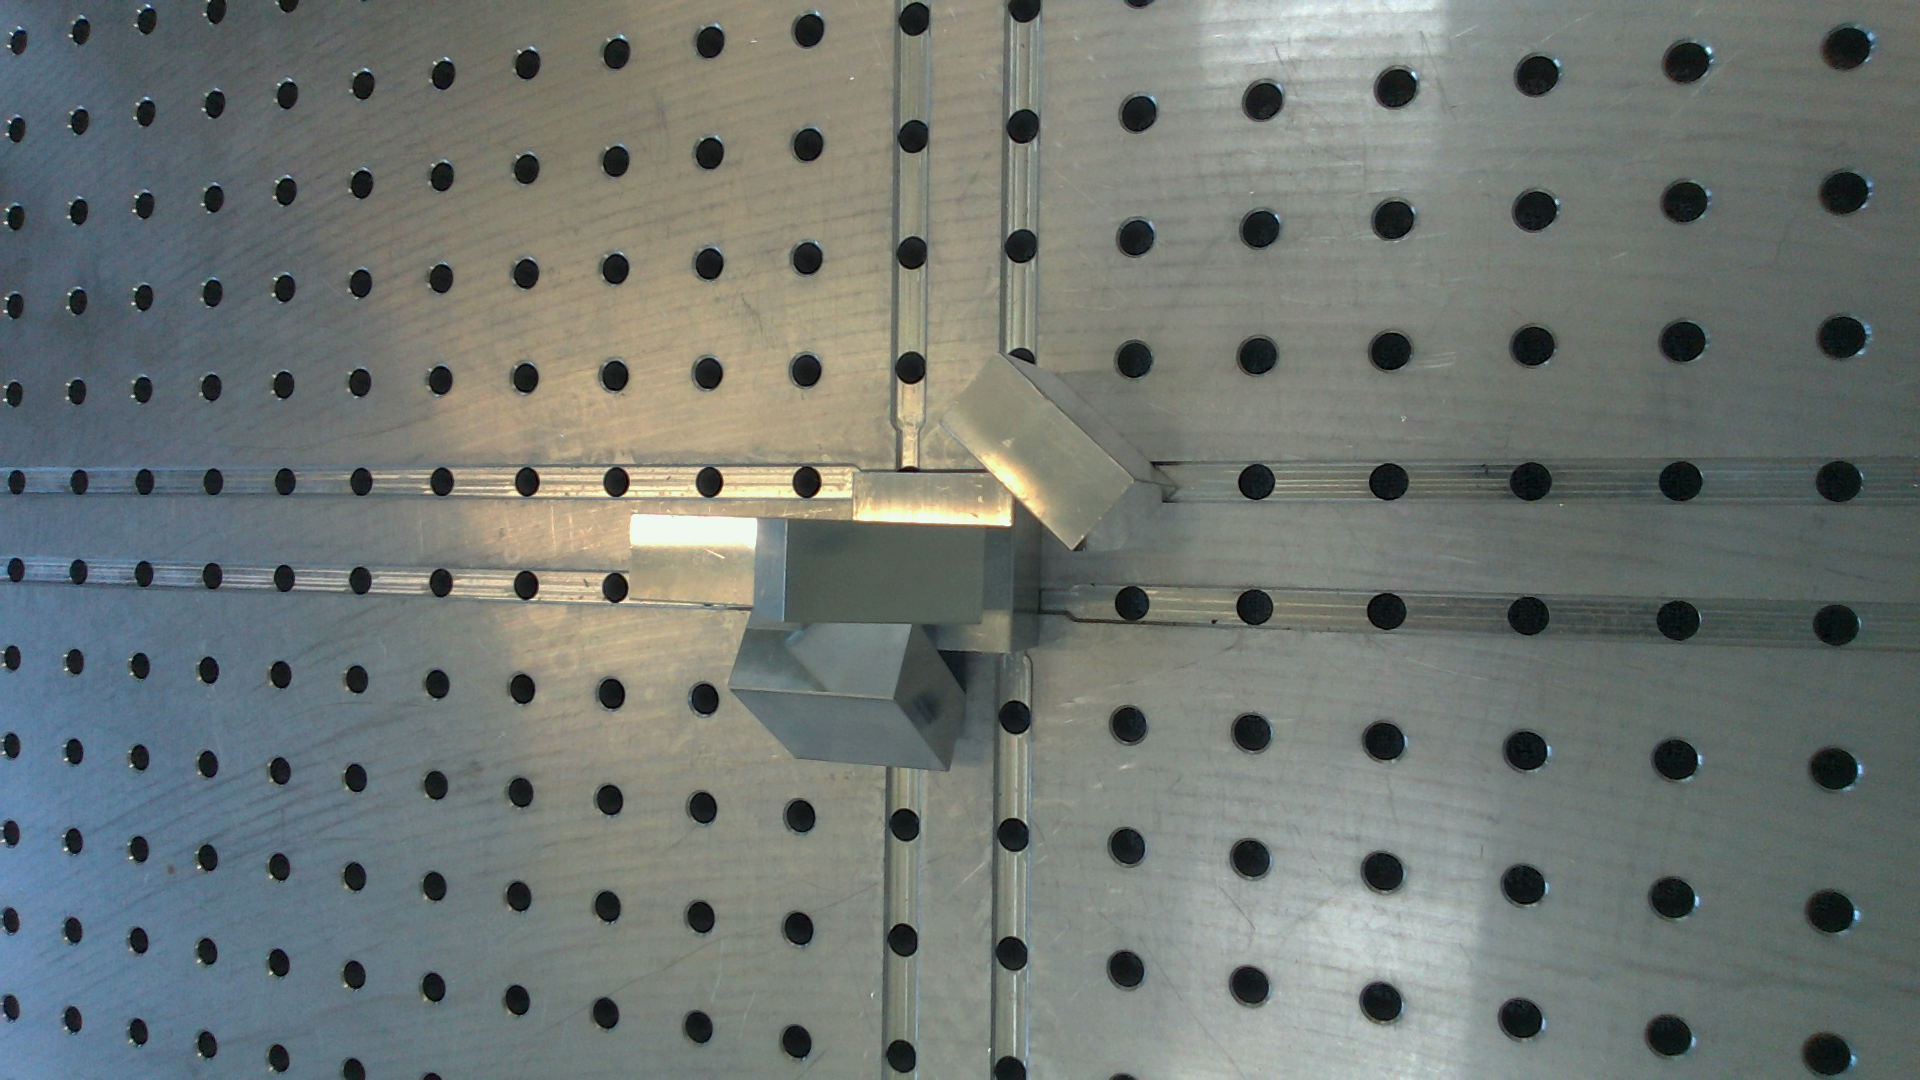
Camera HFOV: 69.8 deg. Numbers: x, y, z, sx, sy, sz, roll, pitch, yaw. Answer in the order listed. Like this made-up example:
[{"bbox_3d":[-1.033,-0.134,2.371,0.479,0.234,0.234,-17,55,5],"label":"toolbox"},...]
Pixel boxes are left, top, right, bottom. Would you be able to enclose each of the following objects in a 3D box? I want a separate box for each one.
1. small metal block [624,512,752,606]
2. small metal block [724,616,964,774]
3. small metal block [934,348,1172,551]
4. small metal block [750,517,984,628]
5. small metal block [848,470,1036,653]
[{"bbox_3d":[-0.063,0.005,0.407,0.050,0.050,0.025,2,91,21],"label":"small metal block"},{"bbox_3d":[-0.032,0.044,0.394,0.050,0.050,0.025,1,59,20],"label":"small metal block"},{"bbox_3d":[0.027,-0.023,0.375,0.050,0.050,0.025,45,103,14],"label":"small metal block"},{"bbox_3d":[-0.026,0.008,0.357,0.050,0.050,0.025,2,91,-17],"label":"small metal block"},{"bbox_3d":[-0.005,0.006,0.400,0.050,0.025,0.050,2,91,19],"label":"small metal block"}]
